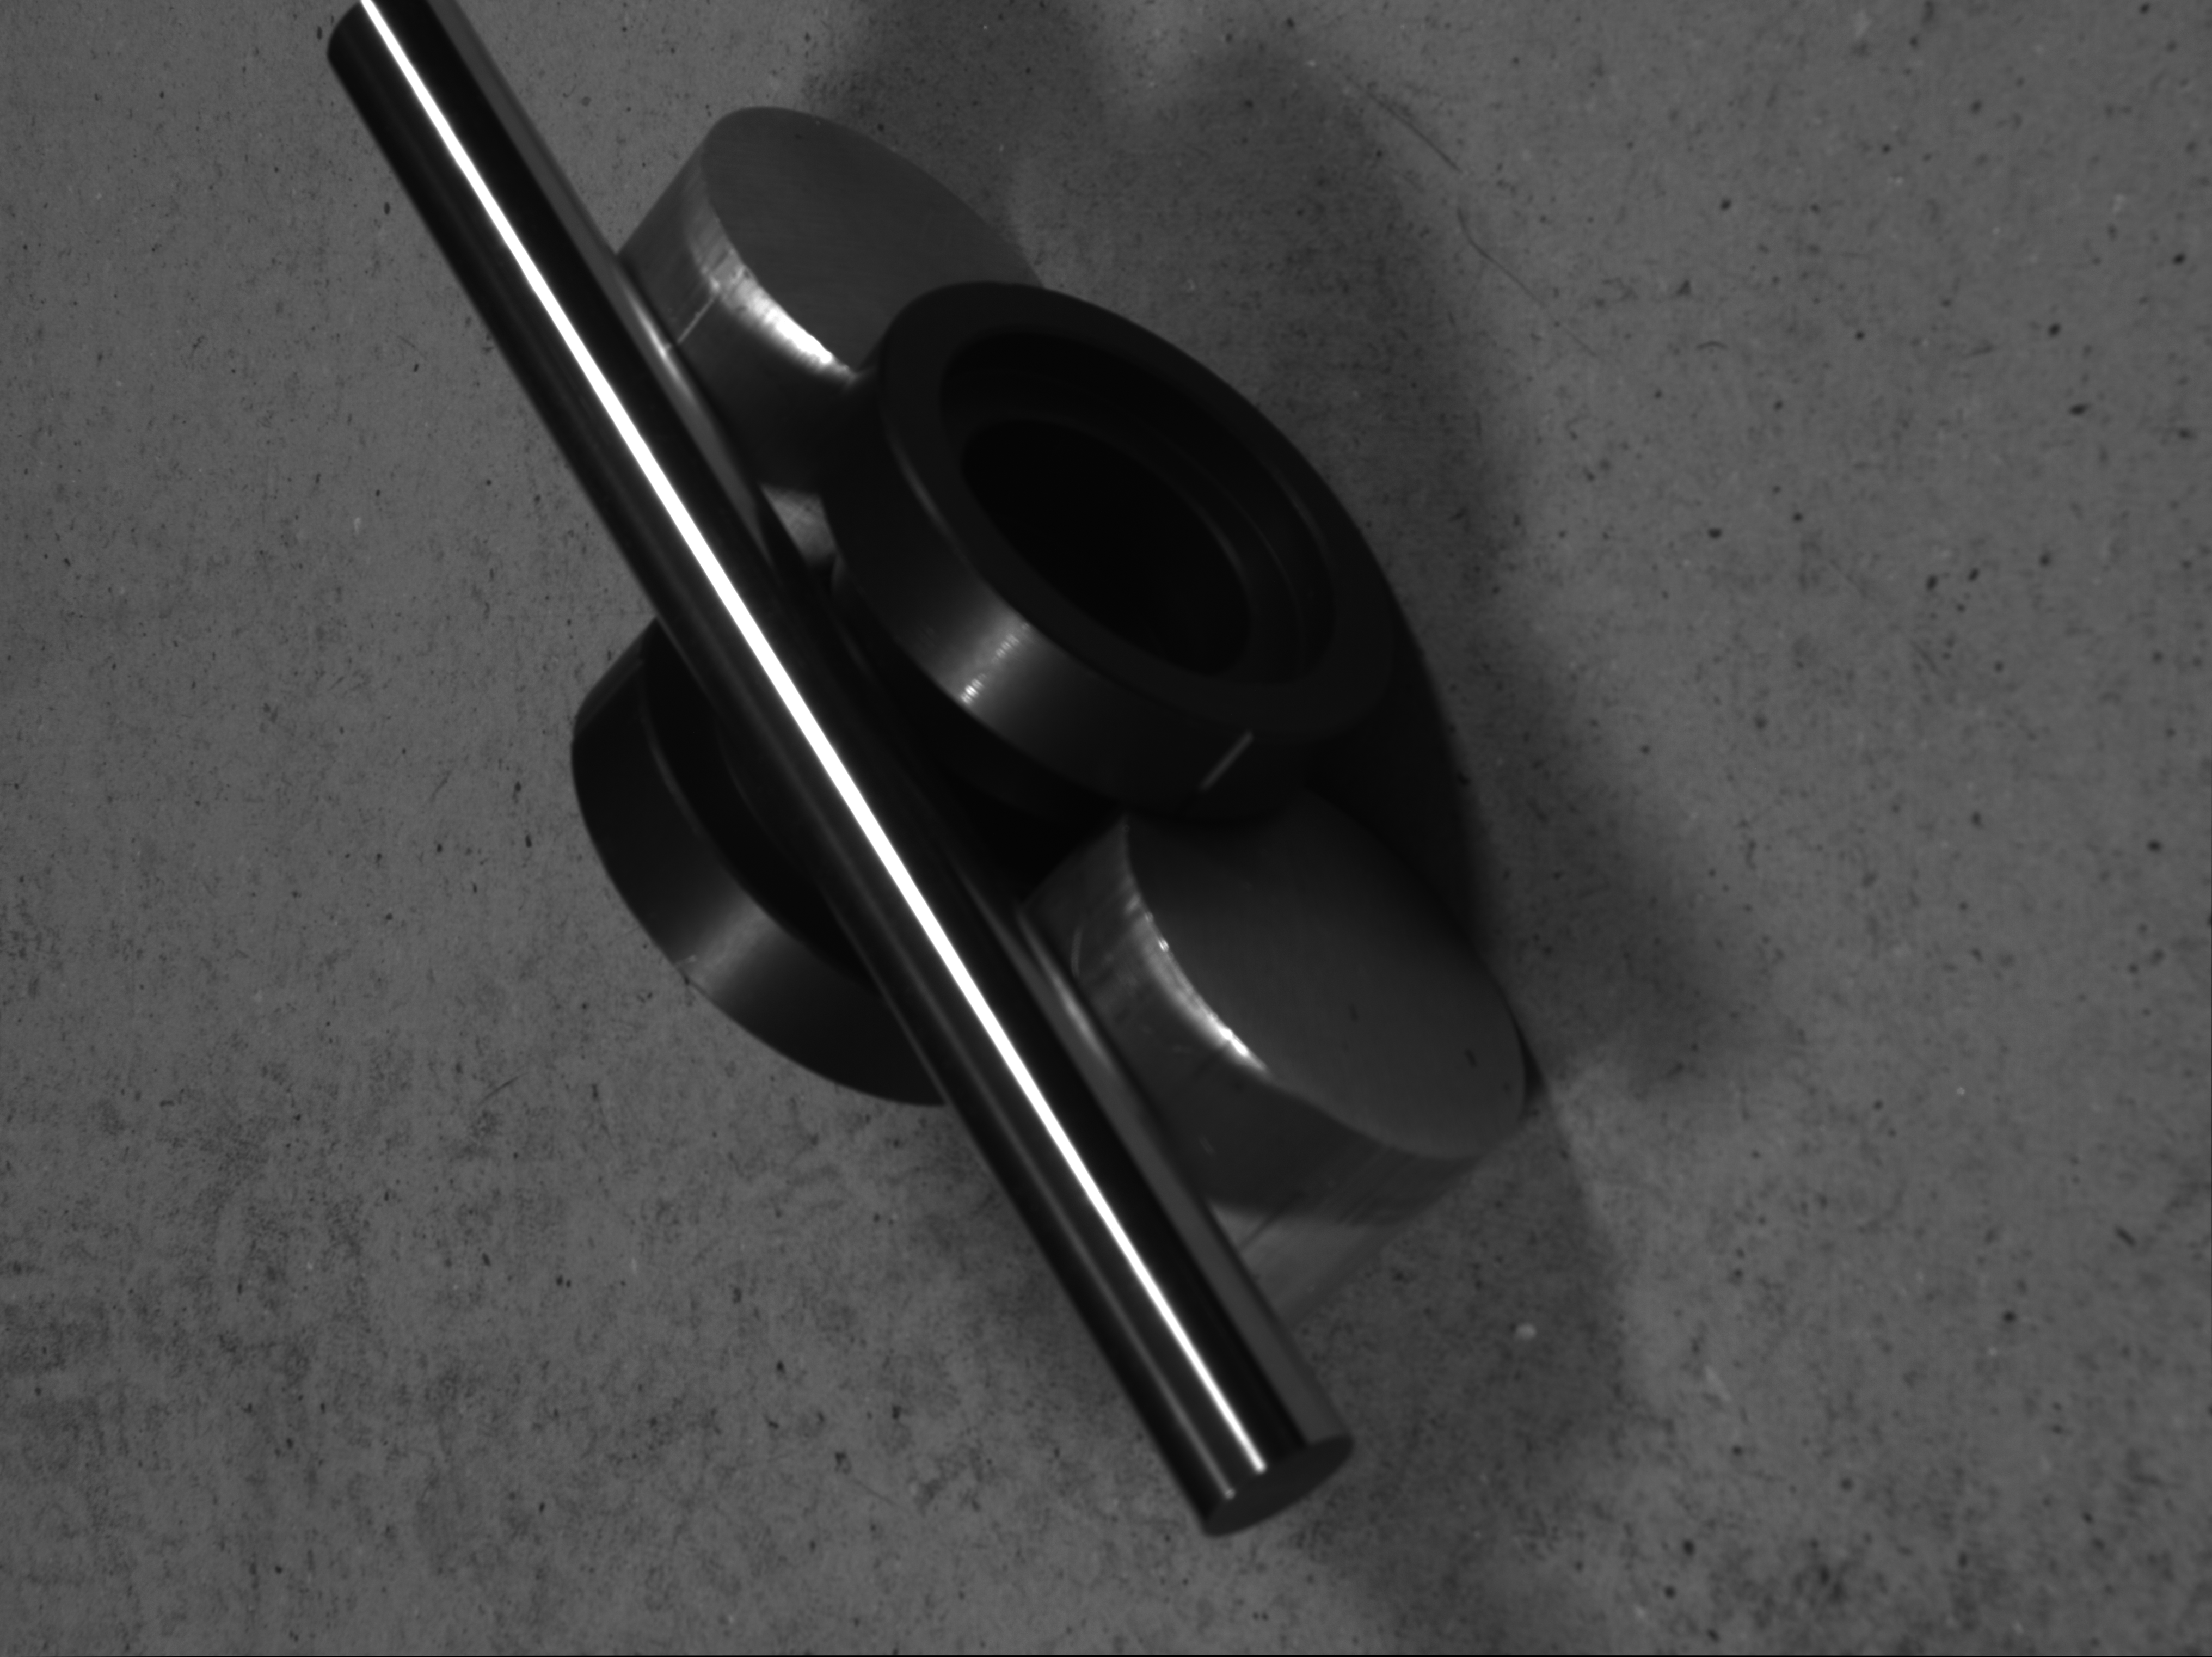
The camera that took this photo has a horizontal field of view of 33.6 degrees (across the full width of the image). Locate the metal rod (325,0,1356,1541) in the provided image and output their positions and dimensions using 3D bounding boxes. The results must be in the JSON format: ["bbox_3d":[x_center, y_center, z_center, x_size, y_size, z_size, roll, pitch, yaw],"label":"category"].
[{"bbox_3d":[-0.050,-0.022,0.574,0.025,0.025,0.300,-47,62,29],"label":"metal rod"}]

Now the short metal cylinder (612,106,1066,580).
[{"bbox_3d":[-0.052,-0.080,0.643,0.050,0.080,0.080,-46,63,29],"label":"short metal cylinder"}]

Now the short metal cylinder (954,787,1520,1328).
[{"bbox_3d":[0.019,0.035,0.585,0.050,0.080,0.080,-46,63,29],"label":"short metal cylinder"}]

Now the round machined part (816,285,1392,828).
[{"bbox_3d":[-0.005,-0.039,0.594,0.042,0.098,0.098,-49,61,33],"label":"round machined part"}]

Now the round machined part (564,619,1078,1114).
[{"bbox_3d":[-0.040,-0.003,0.620,0.042,0.098,0.098,-44,63,26],"label":"round machined part"}]
